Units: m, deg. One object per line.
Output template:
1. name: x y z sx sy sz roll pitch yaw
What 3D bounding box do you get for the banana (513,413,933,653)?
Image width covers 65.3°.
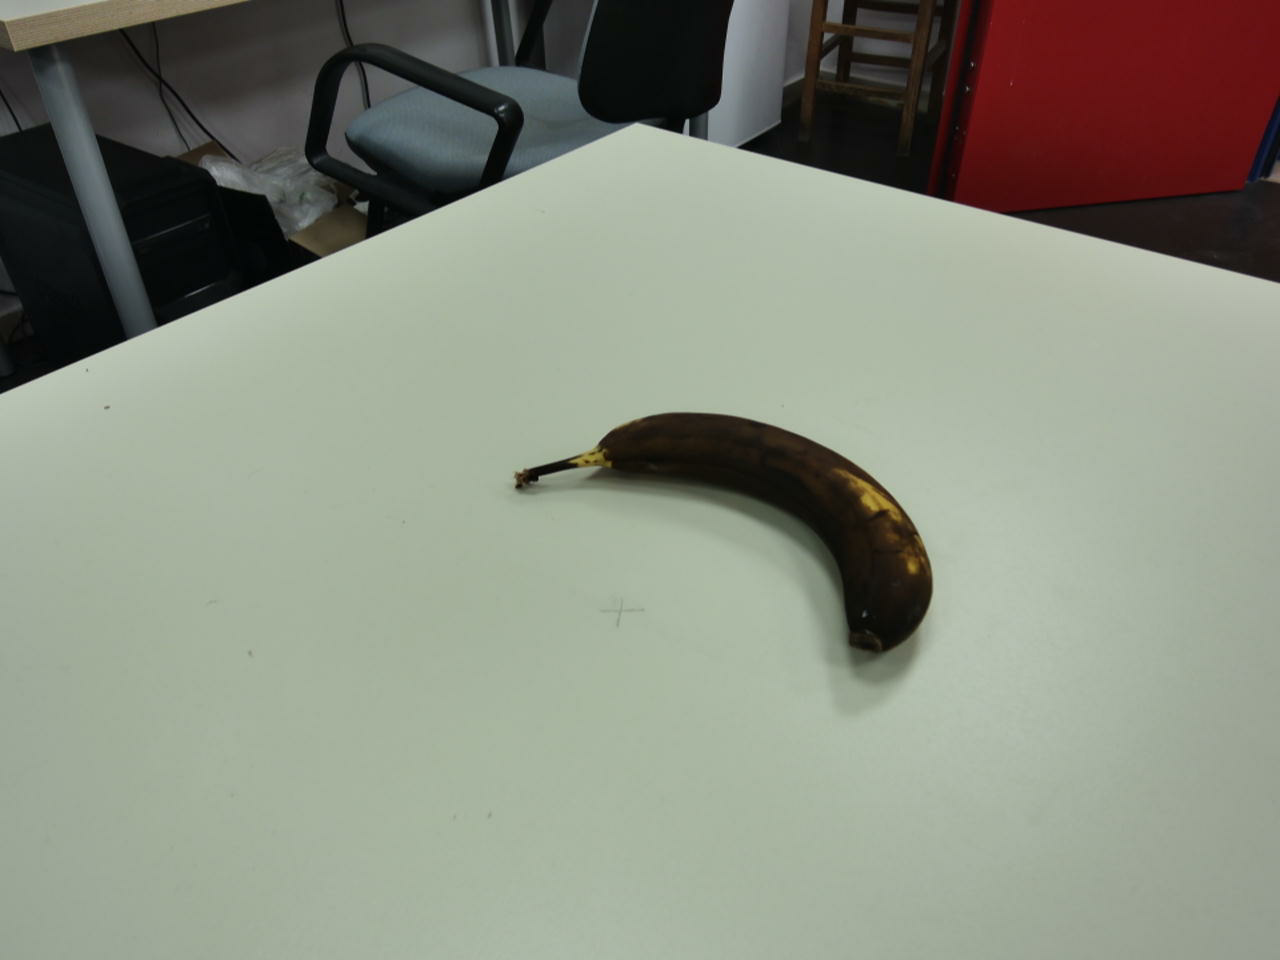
1. banana: 0.043 0.005 0.423 0.188 0.034 0.091 26 44 32
